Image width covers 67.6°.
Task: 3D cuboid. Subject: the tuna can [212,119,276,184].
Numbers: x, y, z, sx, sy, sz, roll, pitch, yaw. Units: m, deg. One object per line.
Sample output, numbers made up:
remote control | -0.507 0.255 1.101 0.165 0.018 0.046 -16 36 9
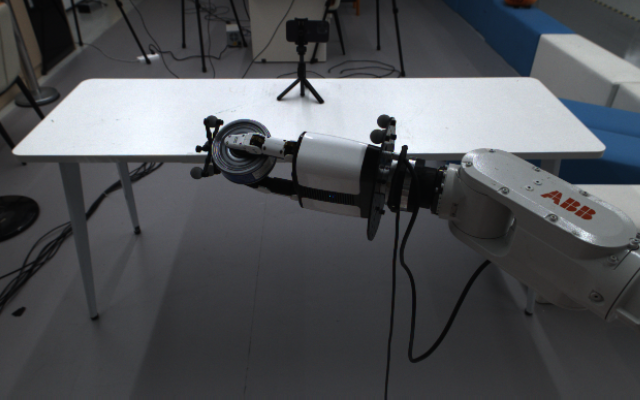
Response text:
tuna can | -0.102 -0.067 0.661 0.085 0.034 0.085 -2 69 7
